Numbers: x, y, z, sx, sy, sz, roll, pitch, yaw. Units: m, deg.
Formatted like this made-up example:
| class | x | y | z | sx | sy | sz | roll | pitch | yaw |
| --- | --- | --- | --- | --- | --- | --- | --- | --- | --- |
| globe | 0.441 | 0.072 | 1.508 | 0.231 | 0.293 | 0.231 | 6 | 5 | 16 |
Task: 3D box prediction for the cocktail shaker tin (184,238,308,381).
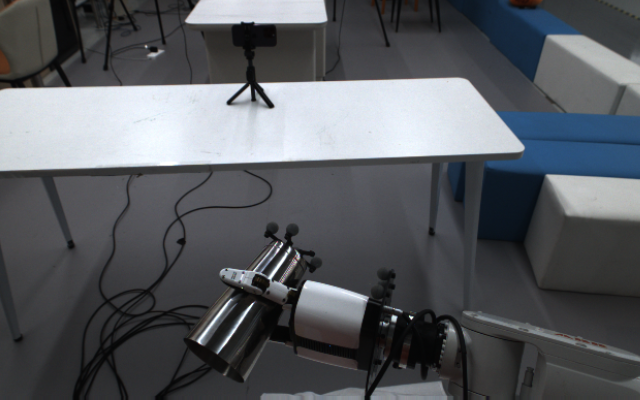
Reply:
| class | x | y | z | sx | sy | sz | roll | pitch | yaw |
| --- | --- | --- | --- | --- | --- | --- | --- | --- | --- |
| cocktail shaker tin | -0.086 | 0.133 | 0.630 | 0.093 | 0.093 | 0.170 | 19 | 54 | 23 |
